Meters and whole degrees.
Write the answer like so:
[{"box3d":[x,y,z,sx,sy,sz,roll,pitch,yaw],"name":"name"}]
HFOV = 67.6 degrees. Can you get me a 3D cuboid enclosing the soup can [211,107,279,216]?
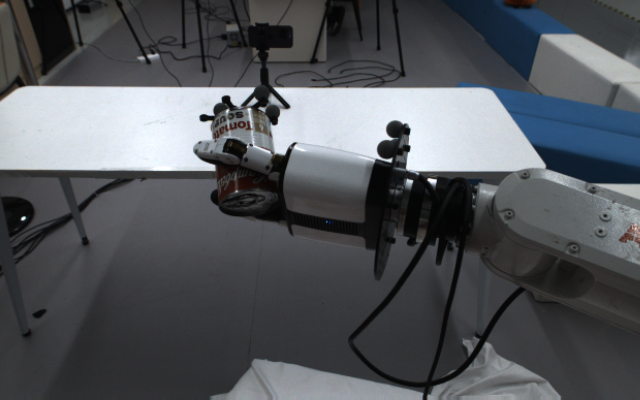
[{"box3d":[-0.079,-0.041,0.528,0.067,0.067,0.101,-6,67,-12],"name":"soup can"}]
